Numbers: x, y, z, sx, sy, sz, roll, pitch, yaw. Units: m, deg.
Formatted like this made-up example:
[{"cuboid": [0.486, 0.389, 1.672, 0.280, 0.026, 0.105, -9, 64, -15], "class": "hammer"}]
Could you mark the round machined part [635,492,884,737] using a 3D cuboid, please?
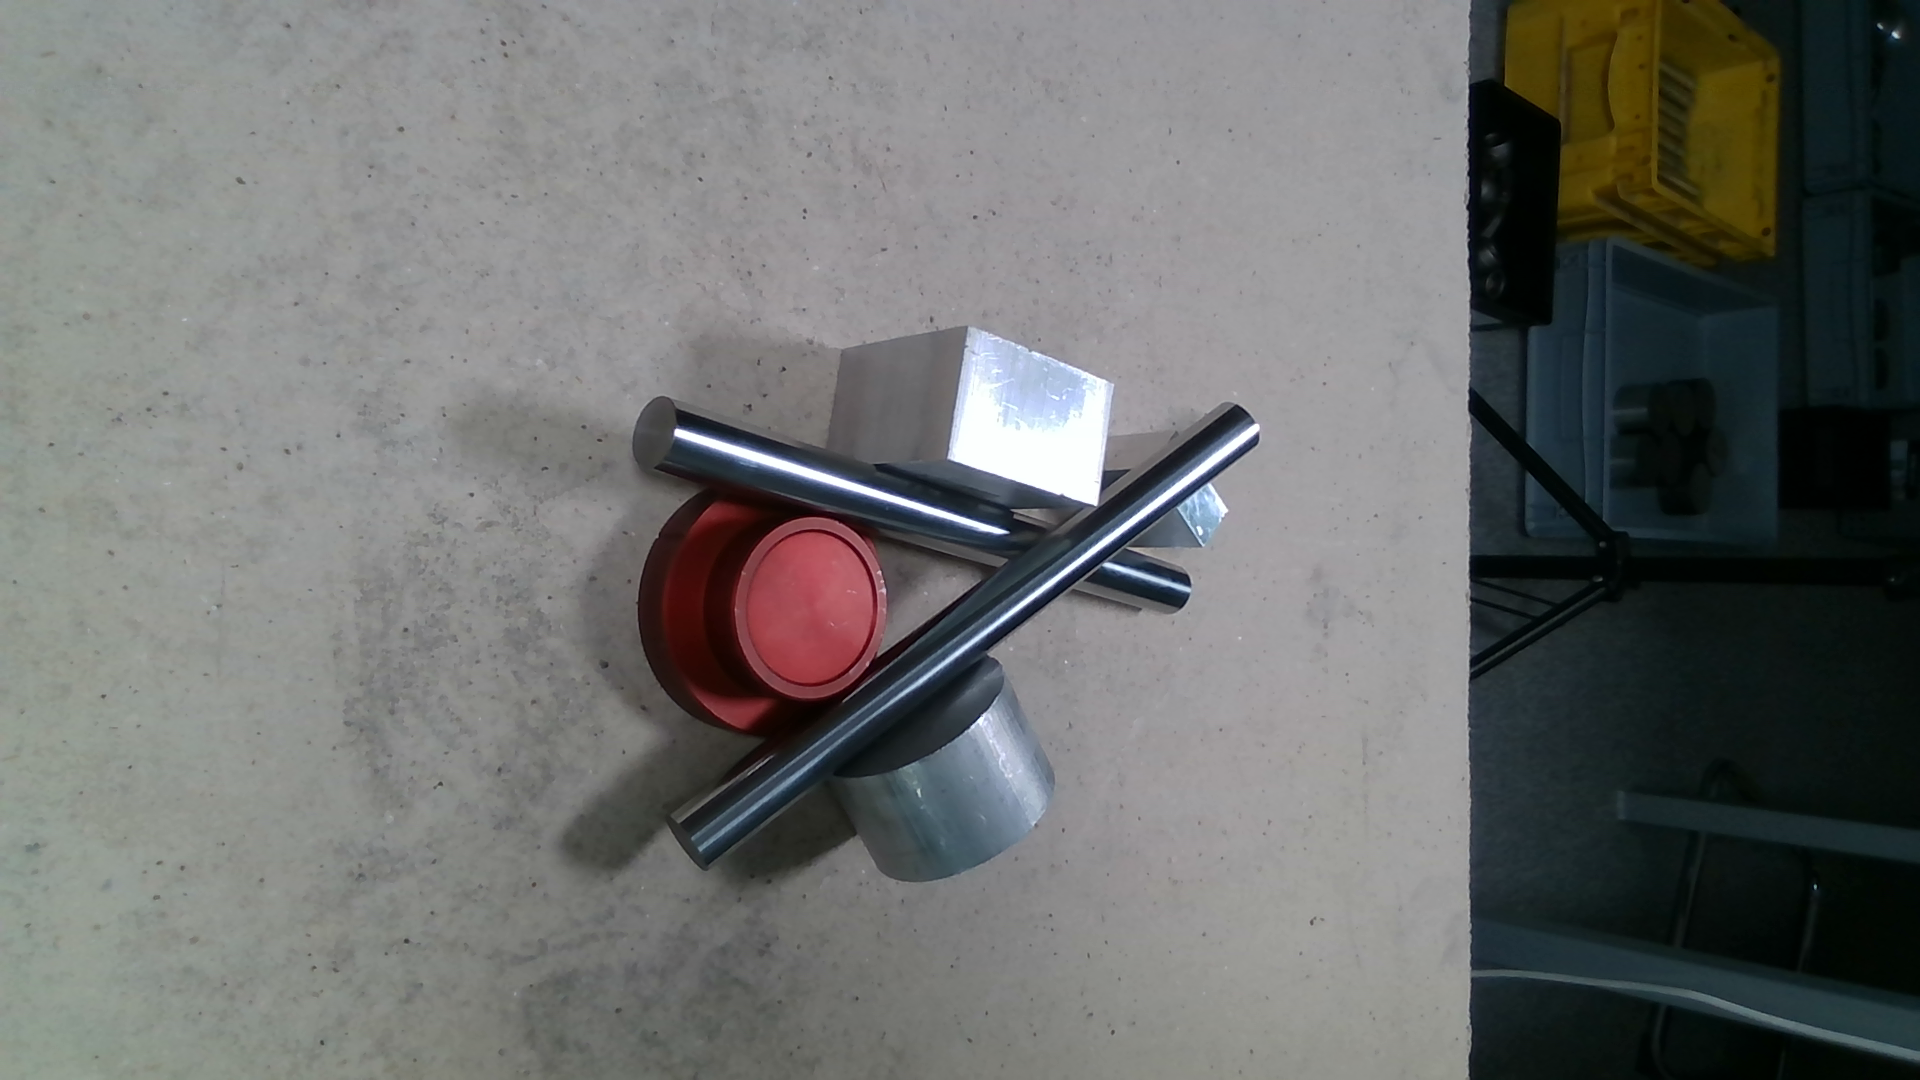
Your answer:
[{"cuboid": [-0.068, 0.025, 0.516, 0.098, 0.042, 0.098, 0, 90, -40], "class": "round machined part"}]

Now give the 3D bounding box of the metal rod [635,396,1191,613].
[{"cuboid": [0.001, -0.006, 0.564, 0.300, 0.025, 0.025, 16, 79, -45], "class": "metal rod"}]

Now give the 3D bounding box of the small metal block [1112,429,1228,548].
[{"cuboid": [0.088, -0.023, 0.641, 0.050, 0.050, 0.025, 52, 59, -27], "class": "small metal block"}]

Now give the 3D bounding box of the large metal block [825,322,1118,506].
[{"cuboid": [0.003, -0.046, 0.550, 0.080, 0.080, 0.050, 15, 80, -39], "class": "large metal block"}]

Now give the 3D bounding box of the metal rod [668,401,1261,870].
[{"cuboid": [0.014, 0.028, 0.550, 0.300, 0.025, 0.025, -36, 112, -25], "class": "metal rod"}]

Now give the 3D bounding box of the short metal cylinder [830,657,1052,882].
[{"cuboid": [-0.010, 0.088, 0.540, 0.080, 0.080, 0.050, -39, 114, -33], "class": "short metal cylinder"}]
